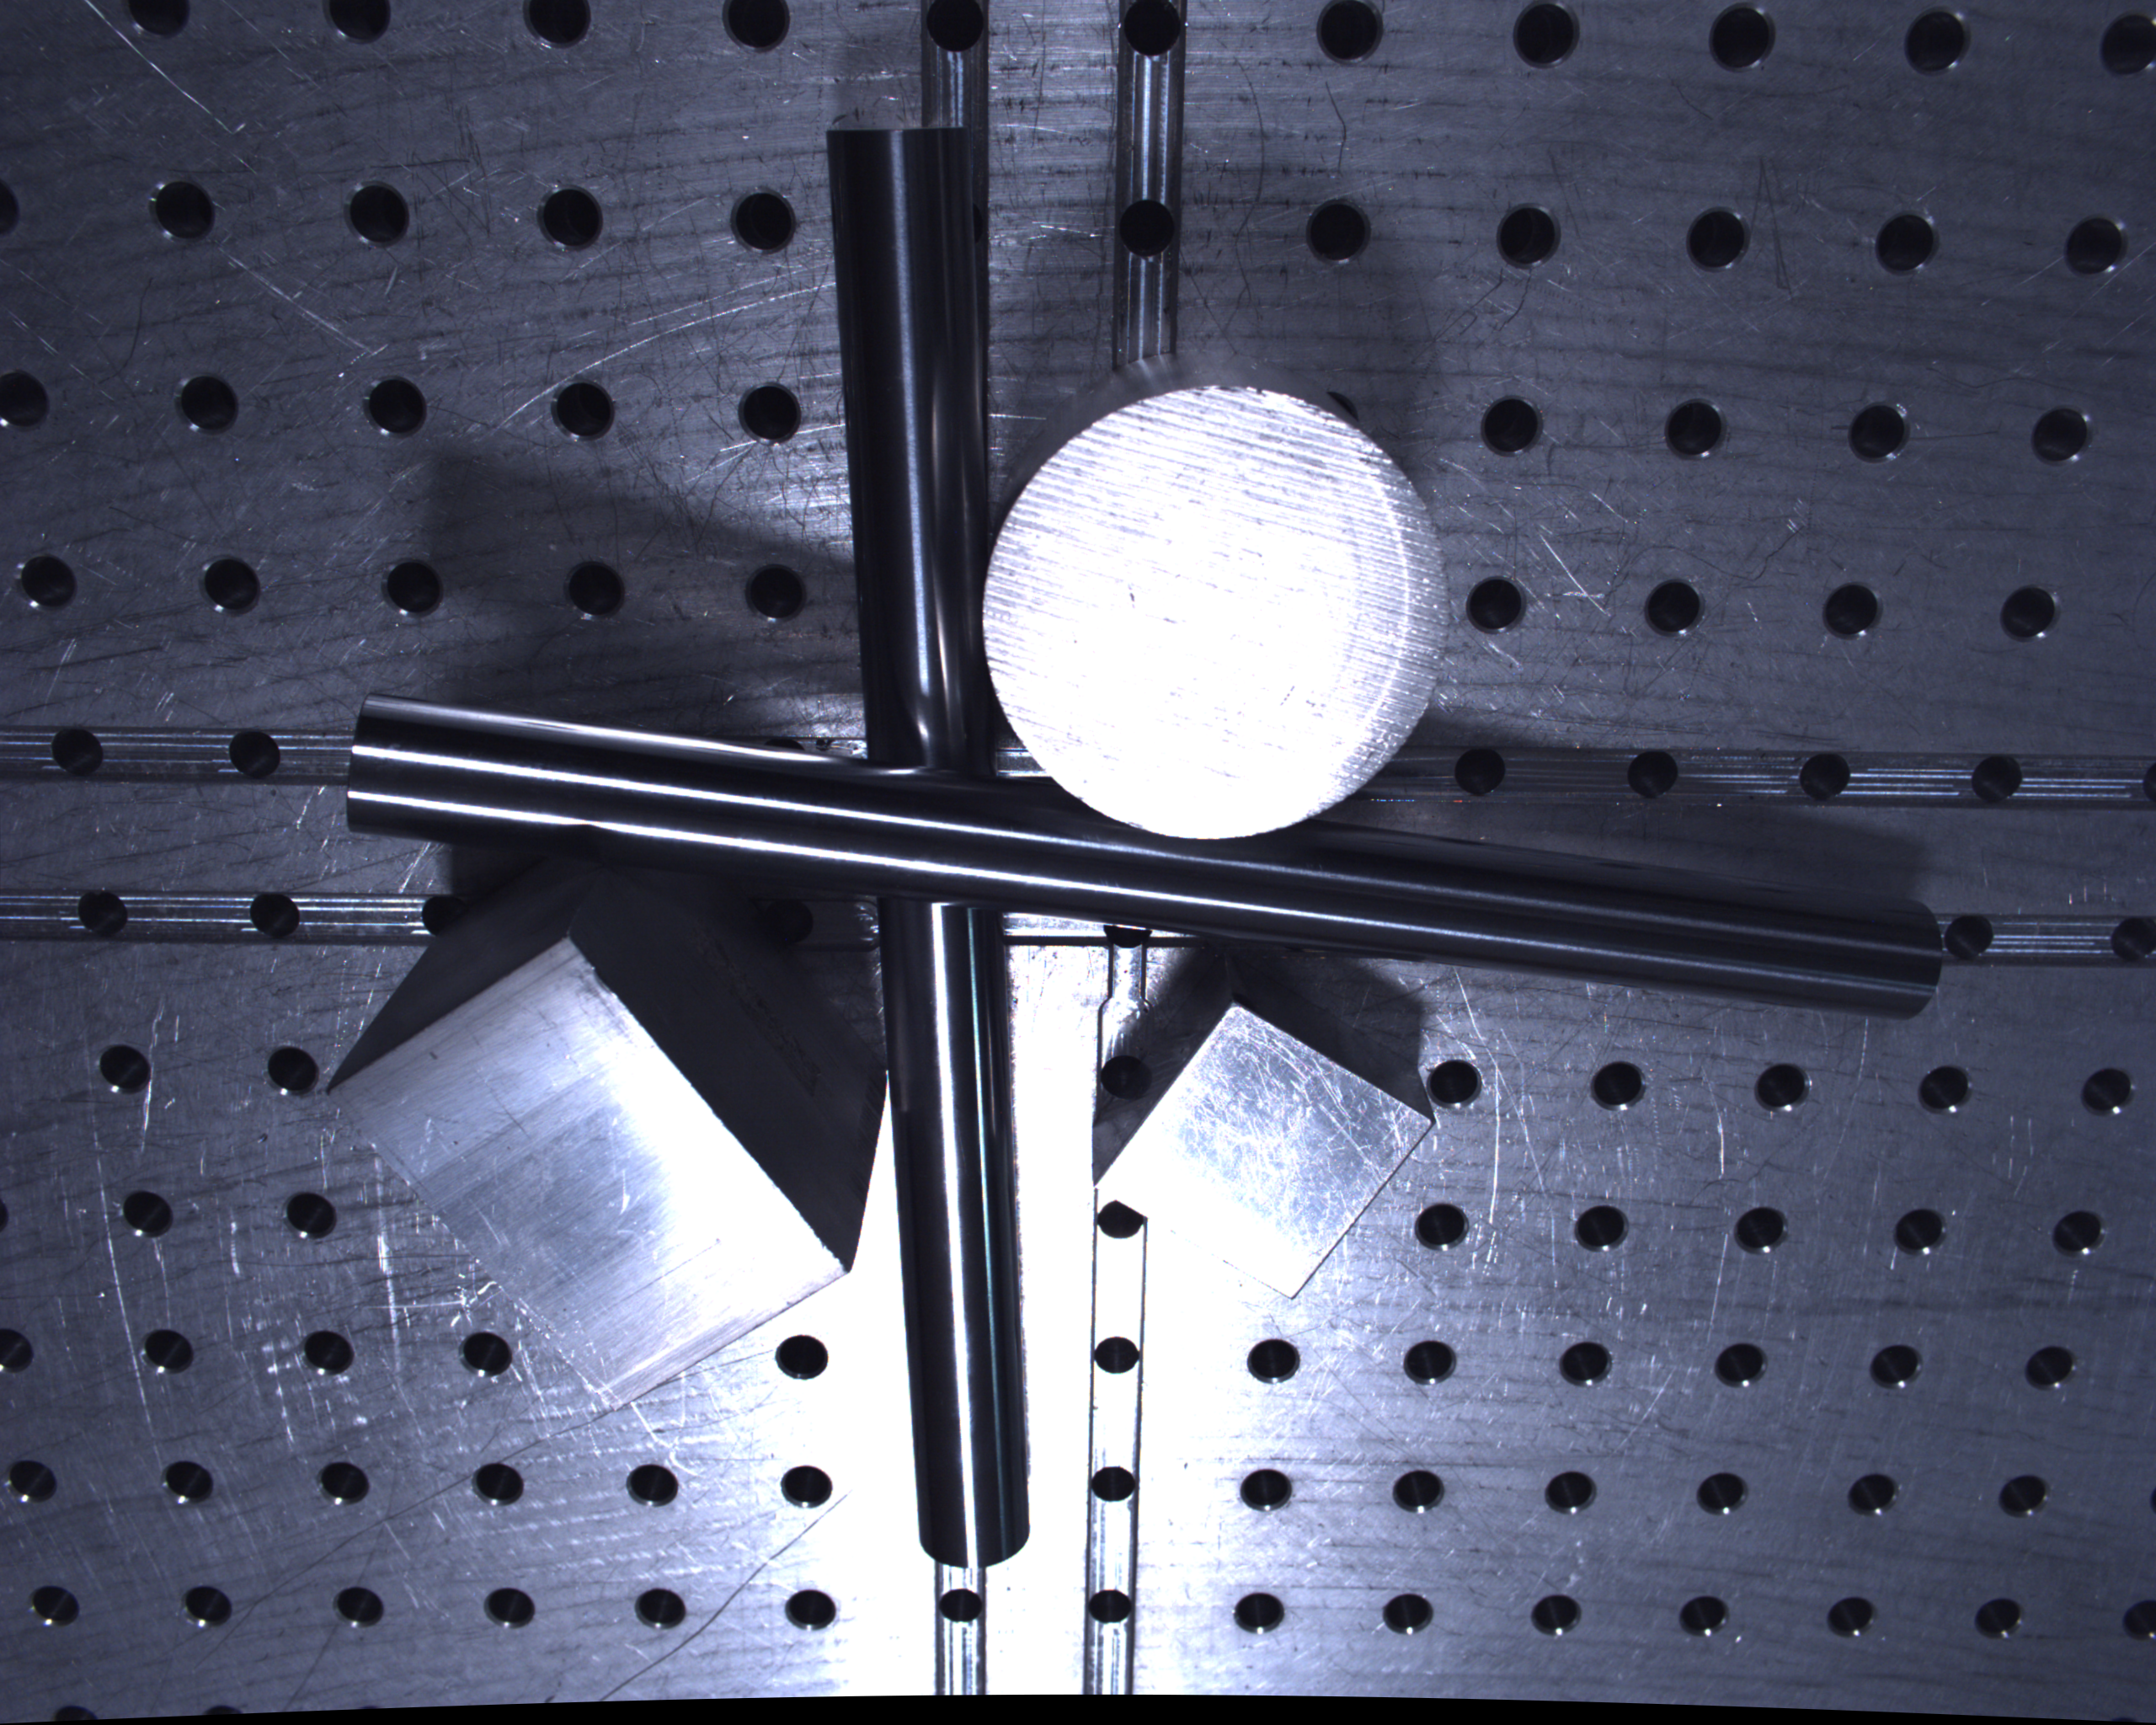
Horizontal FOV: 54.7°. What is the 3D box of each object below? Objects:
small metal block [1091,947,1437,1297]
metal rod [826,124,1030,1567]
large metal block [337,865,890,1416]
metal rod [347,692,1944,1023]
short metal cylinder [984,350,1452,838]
[{"bbox_3d":[0.038,0.054,0.435,0.050,0.025,0.050,32,107,-12],"label":"small metal block"},{"bbox_3d":[-0.027,0.010,0.417,0.025,0.025,0.298,-2,110,0],"label":"metal rod"},{"bbox_3d":[-0.082,0.042,0.397,0.050,0.080,0.080,-33,107,11],"label":"large metal block"},{"bbox_3d":[0.022,0.001,0.394,0.302,0.025,0.025,7,110,-11],"label":"metal rod"},{"bbox_3d":[0.024,-0.050,0.382,0.081,0.050,0.079,0,110,-1],"label":"short metal cylinder"}]
